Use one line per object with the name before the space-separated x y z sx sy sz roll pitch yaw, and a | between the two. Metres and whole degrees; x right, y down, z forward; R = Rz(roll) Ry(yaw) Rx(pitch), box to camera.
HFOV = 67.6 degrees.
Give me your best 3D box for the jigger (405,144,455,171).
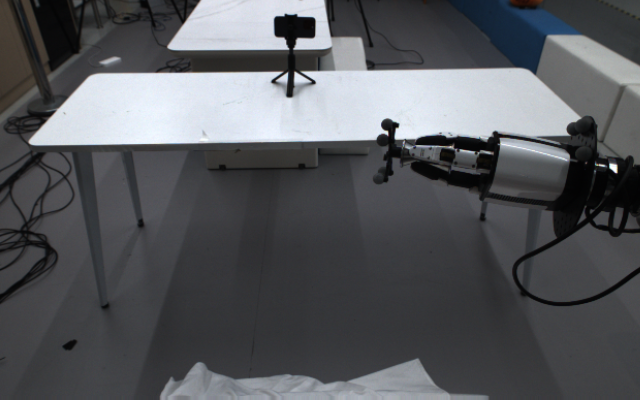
jigger | 0.154 -0.064 0.667 0.071 0.043 0.043 8 35 15
